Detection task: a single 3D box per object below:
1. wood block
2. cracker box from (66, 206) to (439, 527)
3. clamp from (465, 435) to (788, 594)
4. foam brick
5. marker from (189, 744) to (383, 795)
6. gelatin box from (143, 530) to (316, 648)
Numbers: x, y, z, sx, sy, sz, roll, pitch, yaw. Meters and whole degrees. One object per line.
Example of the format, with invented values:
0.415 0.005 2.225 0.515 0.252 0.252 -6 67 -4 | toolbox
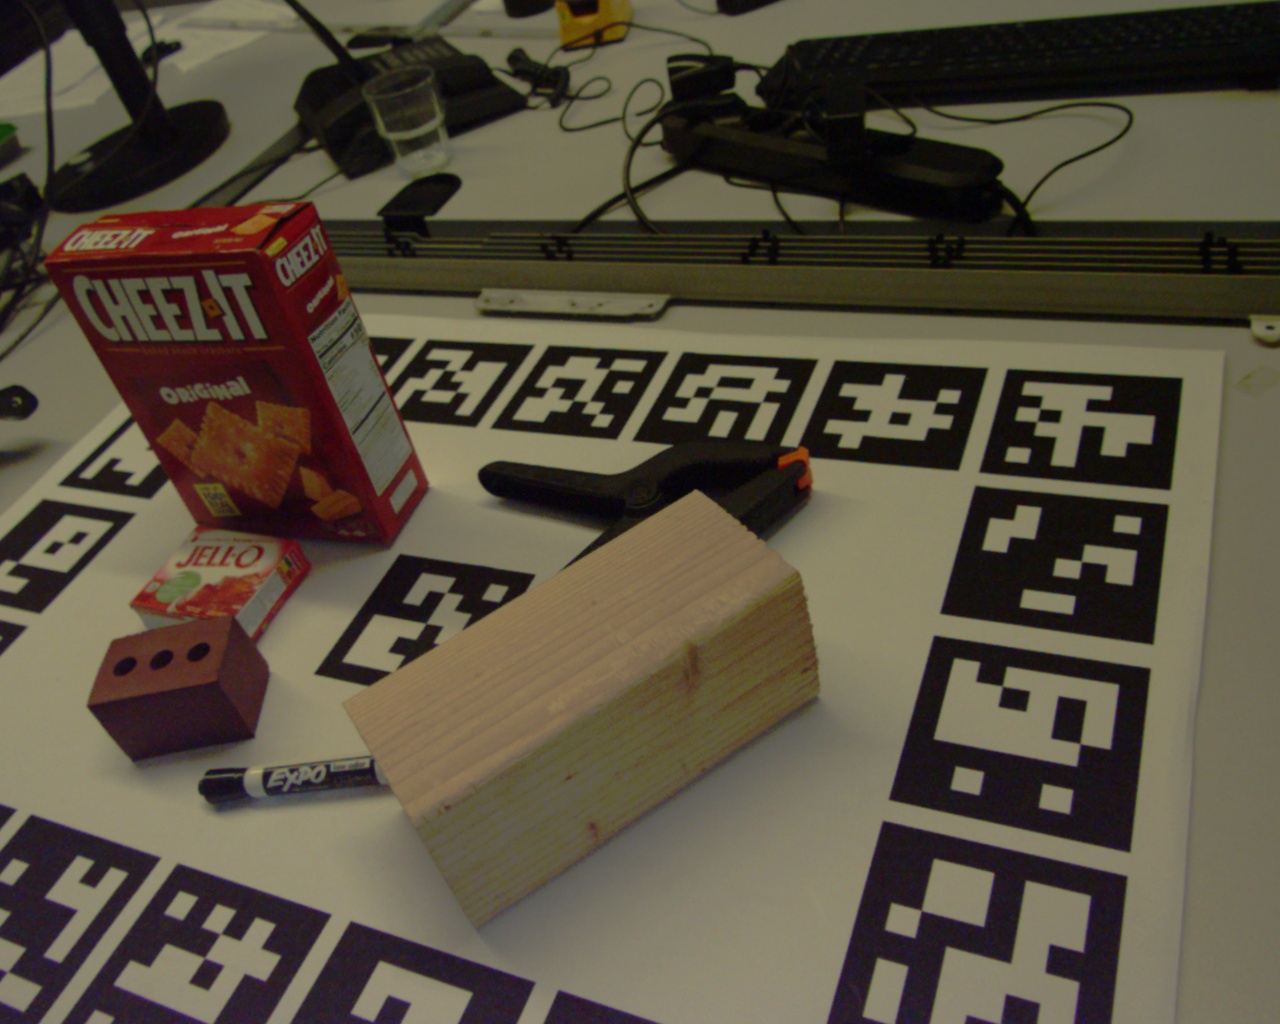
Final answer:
-0.033 0.092 0.585 0.205 0.090 0.091 -30 41 -16 | wood block
-0.248 -0.089 0.750 0.166 0.212 0.072 5 46 22 | cracker box
-0.008 -0.001 0.708 0.203 0.036 0.166 -16 43 4 | clamp
-0.270 0.102 0.685 0.078 0.051 0.053 -12 44 8 | foam brick
-0.196 0.143 0.637 0.122 0.019 0.020 -9 45 12 | marker
-0.274 0.050 0.761 0.090 0.030 0.073 5 49 25 | gelatin box
